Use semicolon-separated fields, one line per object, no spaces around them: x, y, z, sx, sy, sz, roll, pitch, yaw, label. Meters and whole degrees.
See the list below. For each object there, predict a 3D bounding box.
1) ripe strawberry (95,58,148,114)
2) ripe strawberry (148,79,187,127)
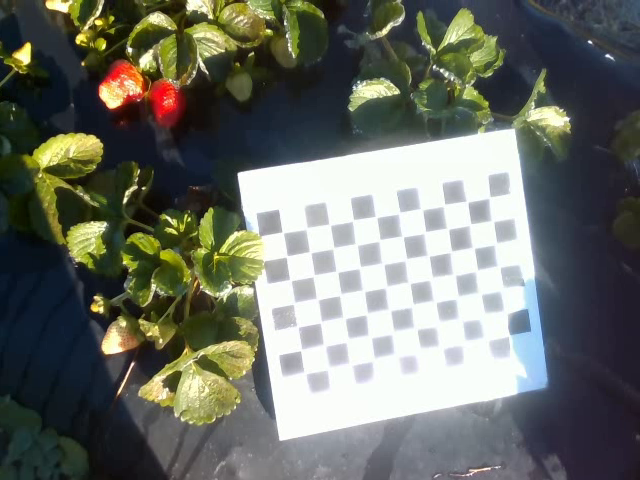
-0.236;-0.179;0.708;0.052;0.070;0.040;38;-8;-12;ripe strawberry
-0.184;-0.164;0.704;0.043;0.059;0.040;-10;-1;-4;ripe strawberry
